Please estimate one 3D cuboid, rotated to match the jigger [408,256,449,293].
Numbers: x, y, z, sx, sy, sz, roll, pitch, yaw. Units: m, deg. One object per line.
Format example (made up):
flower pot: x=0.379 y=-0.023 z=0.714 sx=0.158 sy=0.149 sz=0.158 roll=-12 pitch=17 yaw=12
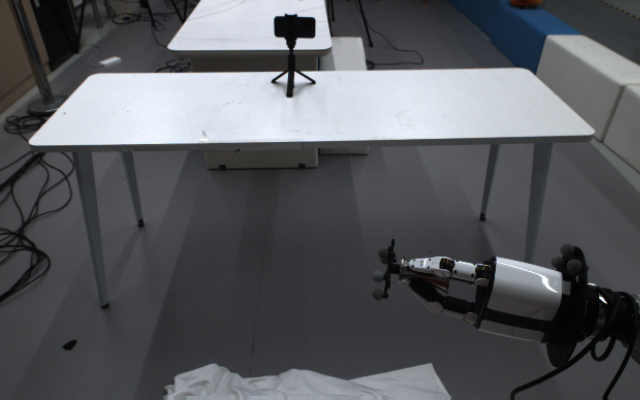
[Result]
jigger: x=0.155 y=0.099 z=0.684 sx=0.071 sy=0.043 sz=0.043 roll=8 pitch=35 yaw=14
